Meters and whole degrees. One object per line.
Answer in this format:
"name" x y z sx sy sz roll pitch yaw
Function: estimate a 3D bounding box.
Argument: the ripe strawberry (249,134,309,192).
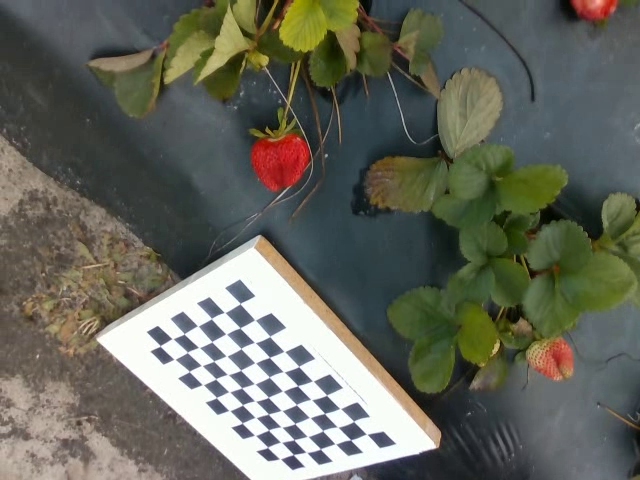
"ripe strawberry" -0.011 -0.017 0.139 0.017 0.015 0.014 -5 -11 26
